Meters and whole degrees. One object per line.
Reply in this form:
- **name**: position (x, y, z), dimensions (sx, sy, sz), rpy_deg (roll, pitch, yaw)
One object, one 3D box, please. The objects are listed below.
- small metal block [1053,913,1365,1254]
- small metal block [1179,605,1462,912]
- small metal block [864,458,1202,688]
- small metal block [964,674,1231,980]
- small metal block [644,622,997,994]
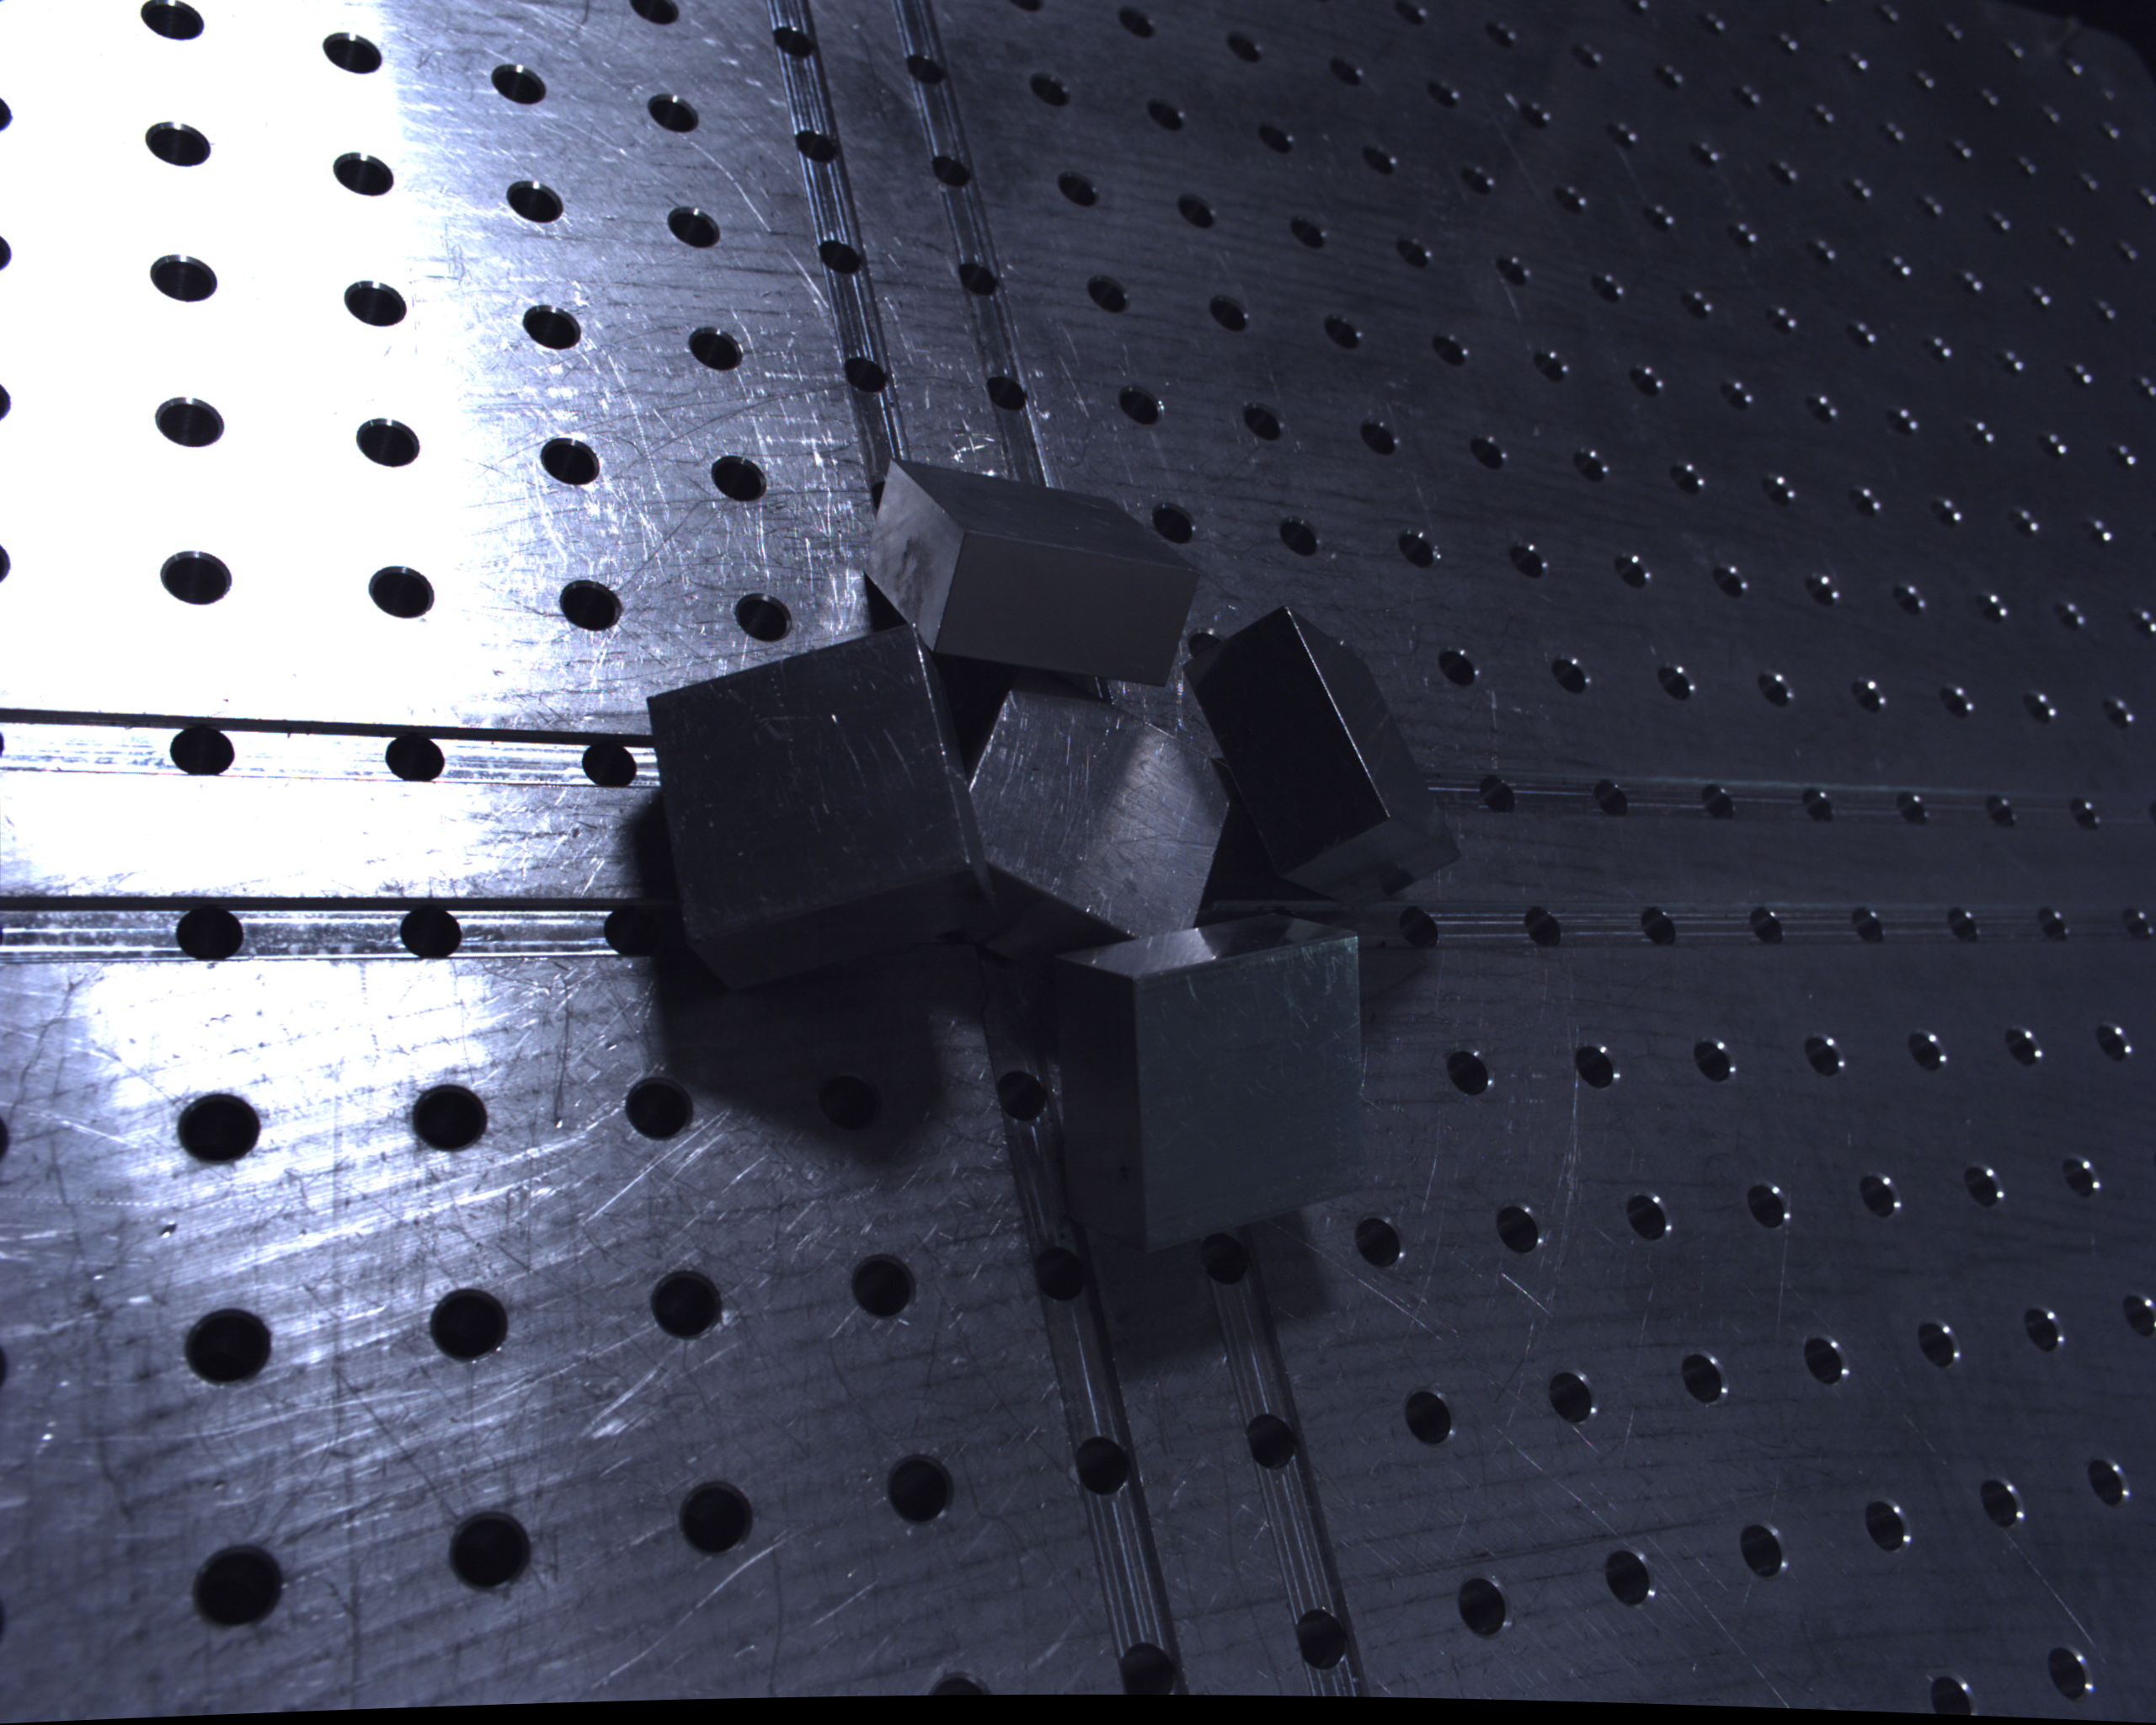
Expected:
- **small metal block**: position (0.025, 0.039, 0.383), dimensions (0.050, 0.025, 0.050), rpy_deg (-10, 102, -33)
- **small metal block**: position (0.051, -0.020, 0.435), dimensions (0.050, 0.025, 0.050), rpy_deg (19, 44, -62)
- **small metal block**: position (-0.010, -0.059, 0.424), dimensions (0.050, 0.025, 0.050), rpy_deg (6, 23, -25)
- **small metal block**: position (-0.001, -0.005, 0.412), dimensions (0.050, 0.025, 0.050), rpy_deg (28, 52, -11)
- **small metal block**: position (-0.046, -0.010, 0.375), dimensions (0.050, 0.025, 0.050), rpy_deg (-16, 65, 2)
